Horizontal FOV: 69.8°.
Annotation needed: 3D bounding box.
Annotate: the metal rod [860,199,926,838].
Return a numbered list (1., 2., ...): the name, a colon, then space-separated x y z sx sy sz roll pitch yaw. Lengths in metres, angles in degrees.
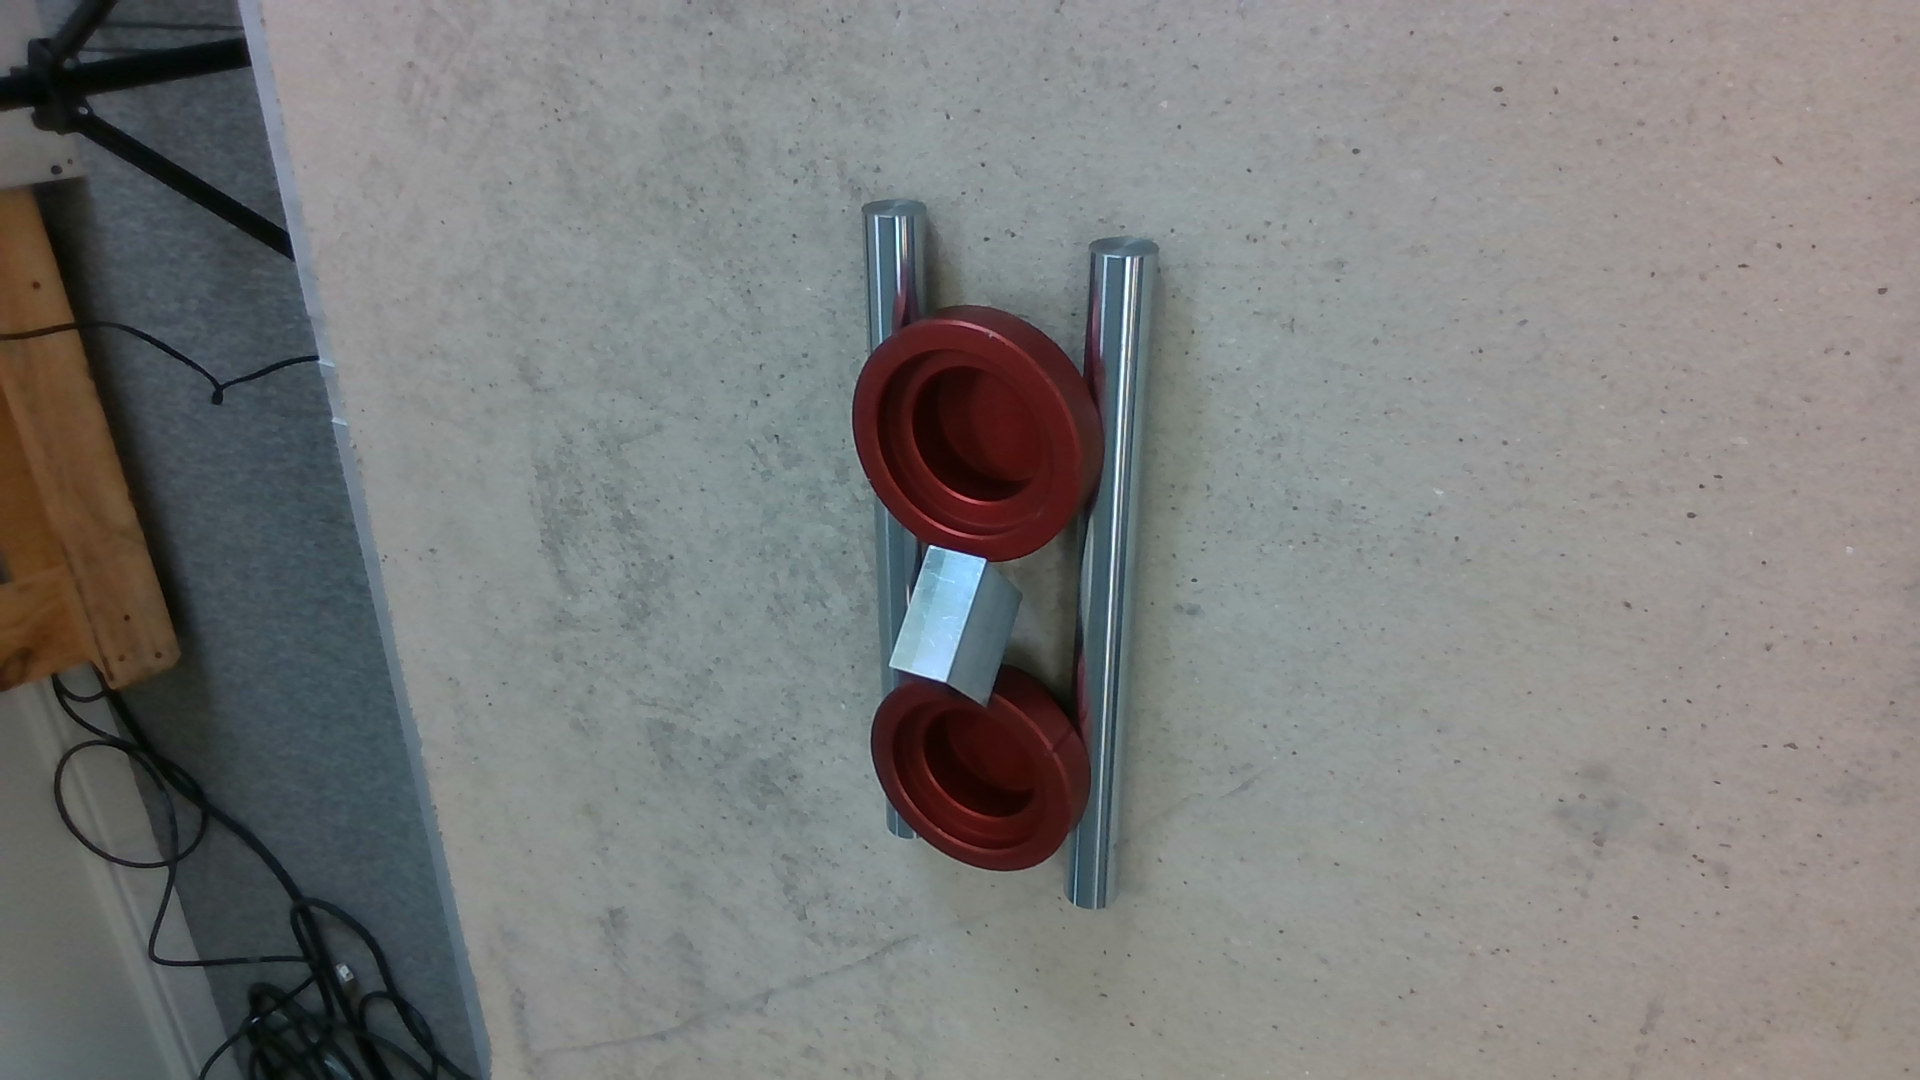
1. metal rod: -0.025 0.005 0.598 0.025 0.025 0.301 14 122 25

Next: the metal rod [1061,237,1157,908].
1. metal rod: 0.058 0.028 0.560 0.025 0.025 0.301 14 122 25

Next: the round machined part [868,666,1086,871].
1. round machined part: 0.012 0.093 0.607 0.098 0.042 0.098 14 122 25

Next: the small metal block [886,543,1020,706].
1. small metal block: -0.001 0.034 0.550 0.025 0.050 0.050 14 78 24

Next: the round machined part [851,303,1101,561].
1. round machined part: 0.010 -0.045 0.533 0.098 0.042 0.098 14 122 25
